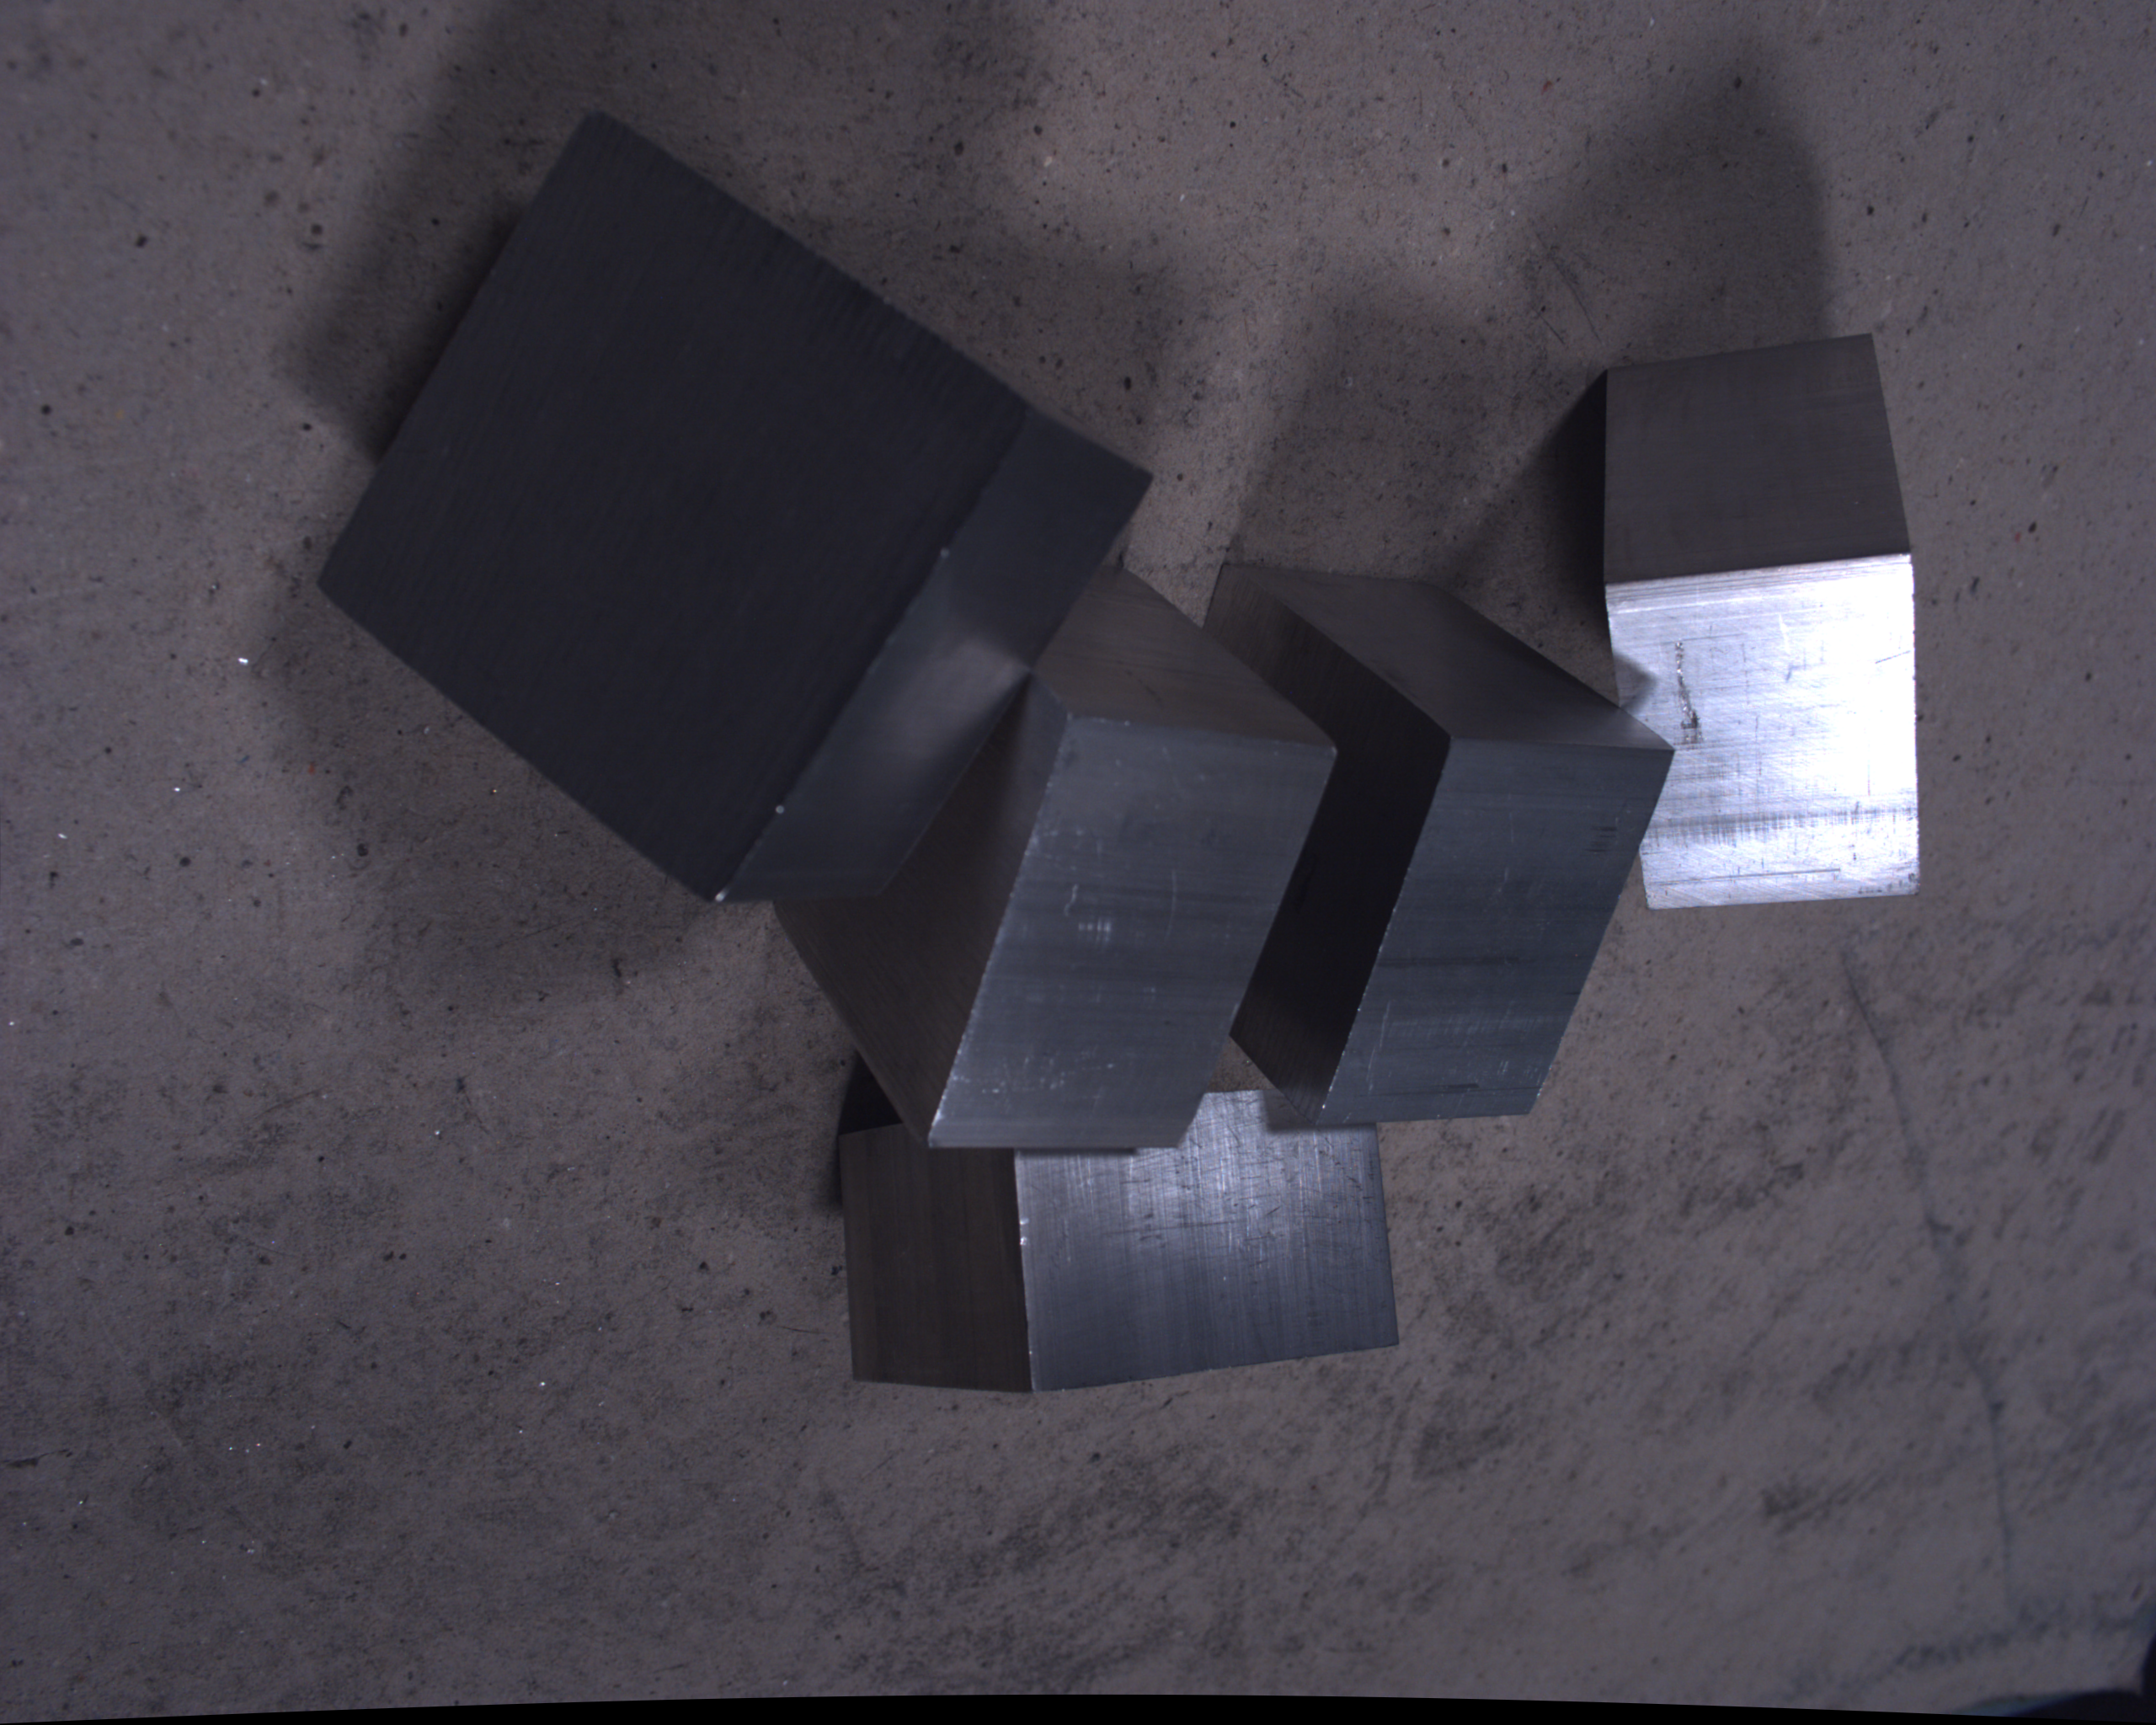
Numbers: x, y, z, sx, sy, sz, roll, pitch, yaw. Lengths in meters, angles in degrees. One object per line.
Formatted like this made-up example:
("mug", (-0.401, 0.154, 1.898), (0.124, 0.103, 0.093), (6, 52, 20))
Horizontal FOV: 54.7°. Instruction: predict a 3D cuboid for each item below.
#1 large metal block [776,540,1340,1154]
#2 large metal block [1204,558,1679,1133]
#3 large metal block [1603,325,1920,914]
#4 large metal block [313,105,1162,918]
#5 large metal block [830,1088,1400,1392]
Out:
("large metal block", (-0.009, -0.005, 0.367), (0.050, 0.080, 0.079), (5, 116, -31))
("large metal block", (0.058, -0.005, 0.403), (0.050, 0.080, 0.079), (1, 118, -29))
("large metal block", (0.134, -0.048, 0.411), (0.050, 0.080, 0.080), (-5, 129, 18))
("large metal block", (-0.049, -0.048, 0.306), (0.080, 0.080, 0.050), (-56, 164, 11))
("large metal block", (0.005, 0.074, 0.415), (0.081, 0.080, 0.050), (1, 79, -29))
